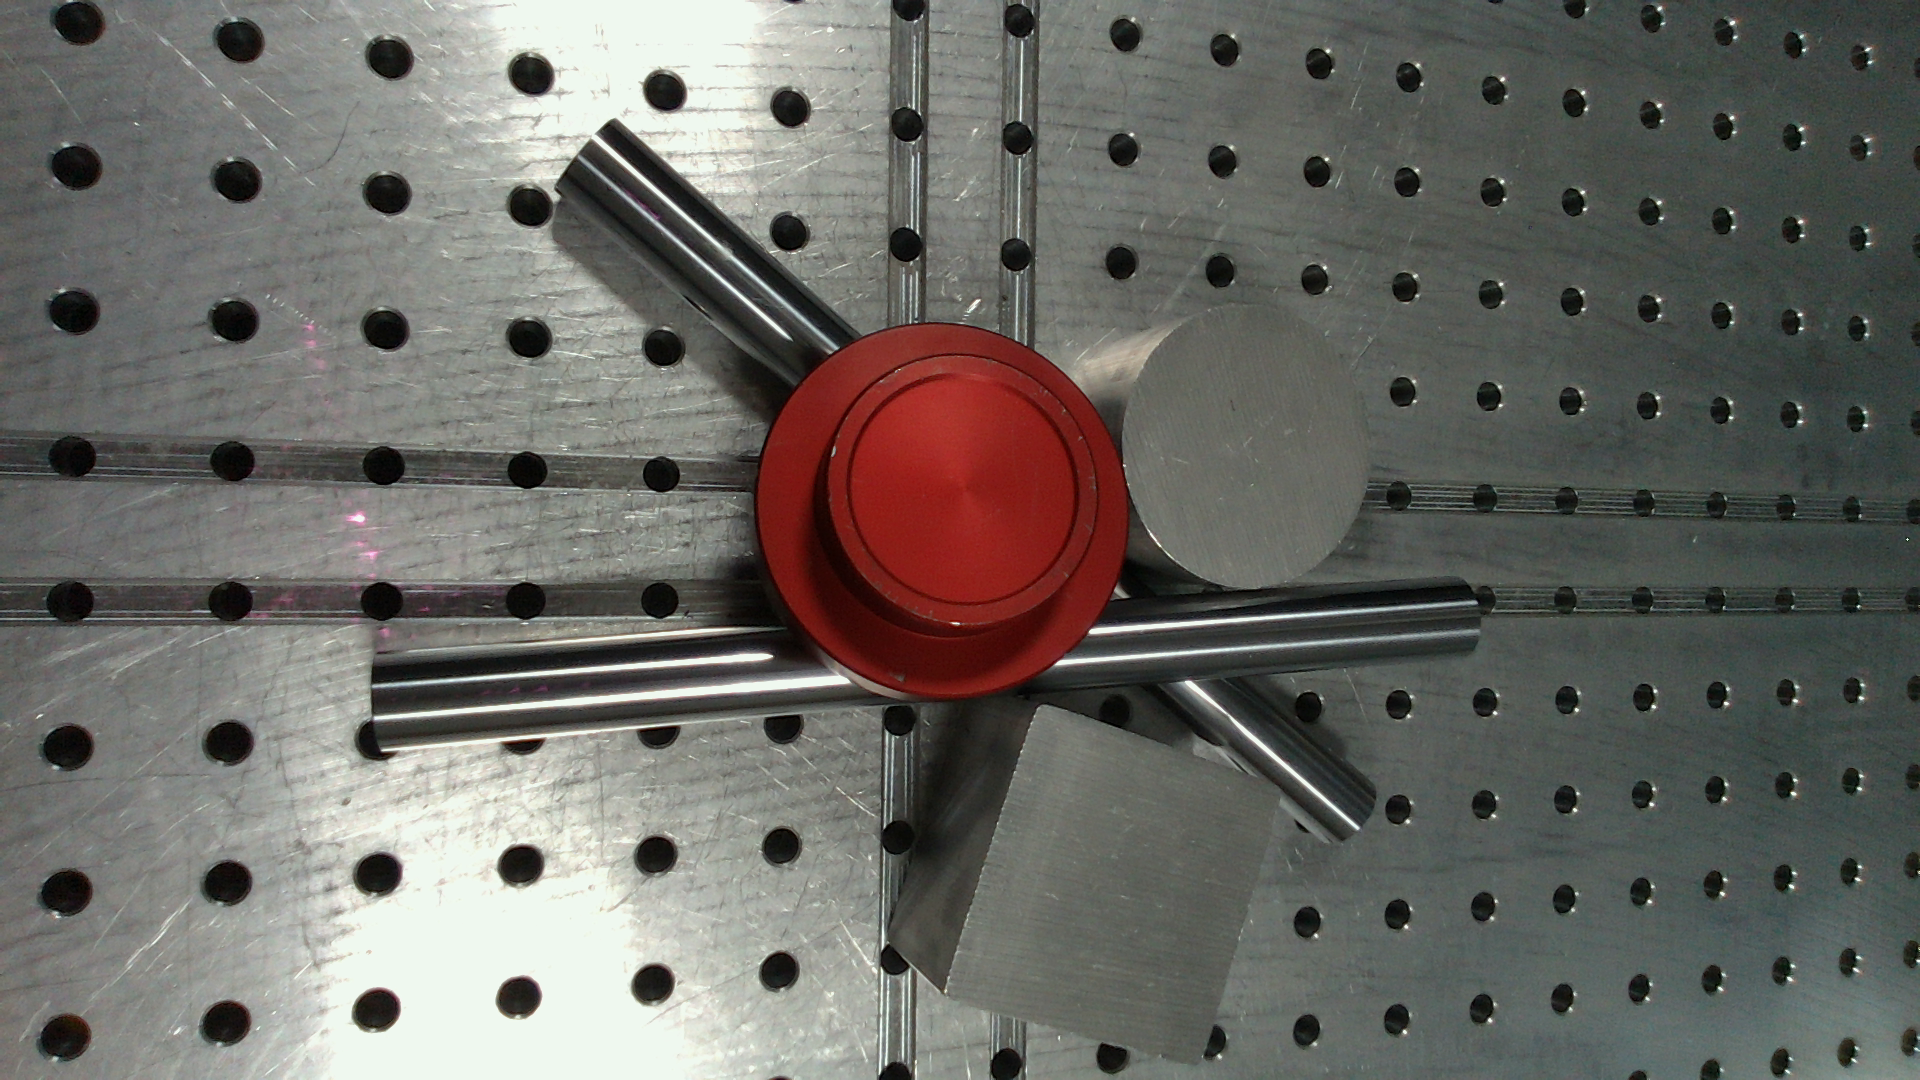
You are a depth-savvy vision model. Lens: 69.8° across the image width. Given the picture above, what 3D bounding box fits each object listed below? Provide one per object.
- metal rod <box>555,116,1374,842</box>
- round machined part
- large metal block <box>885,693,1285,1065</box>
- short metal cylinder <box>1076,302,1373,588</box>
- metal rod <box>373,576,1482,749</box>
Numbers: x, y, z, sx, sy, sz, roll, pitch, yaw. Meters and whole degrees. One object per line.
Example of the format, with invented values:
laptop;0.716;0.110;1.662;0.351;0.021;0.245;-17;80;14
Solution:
metal rod;0.012;-0.008;0.401;0.300;0.025;0.025;40;77;-16
round machined part;-0.004;-0.009;0.350;0.098;0.042;0.098;2;81;-14
large metal block;0.035;0.093;0.393;0.080;0.050;0.080;21;83;-19
short metal cylinder;0.074;-0.027;0.408;0.080;0.050;0.080;0;90;-20
metal rod;0.002;0.031;0.377;0.301;0.025;0.025;-3;91;-13
